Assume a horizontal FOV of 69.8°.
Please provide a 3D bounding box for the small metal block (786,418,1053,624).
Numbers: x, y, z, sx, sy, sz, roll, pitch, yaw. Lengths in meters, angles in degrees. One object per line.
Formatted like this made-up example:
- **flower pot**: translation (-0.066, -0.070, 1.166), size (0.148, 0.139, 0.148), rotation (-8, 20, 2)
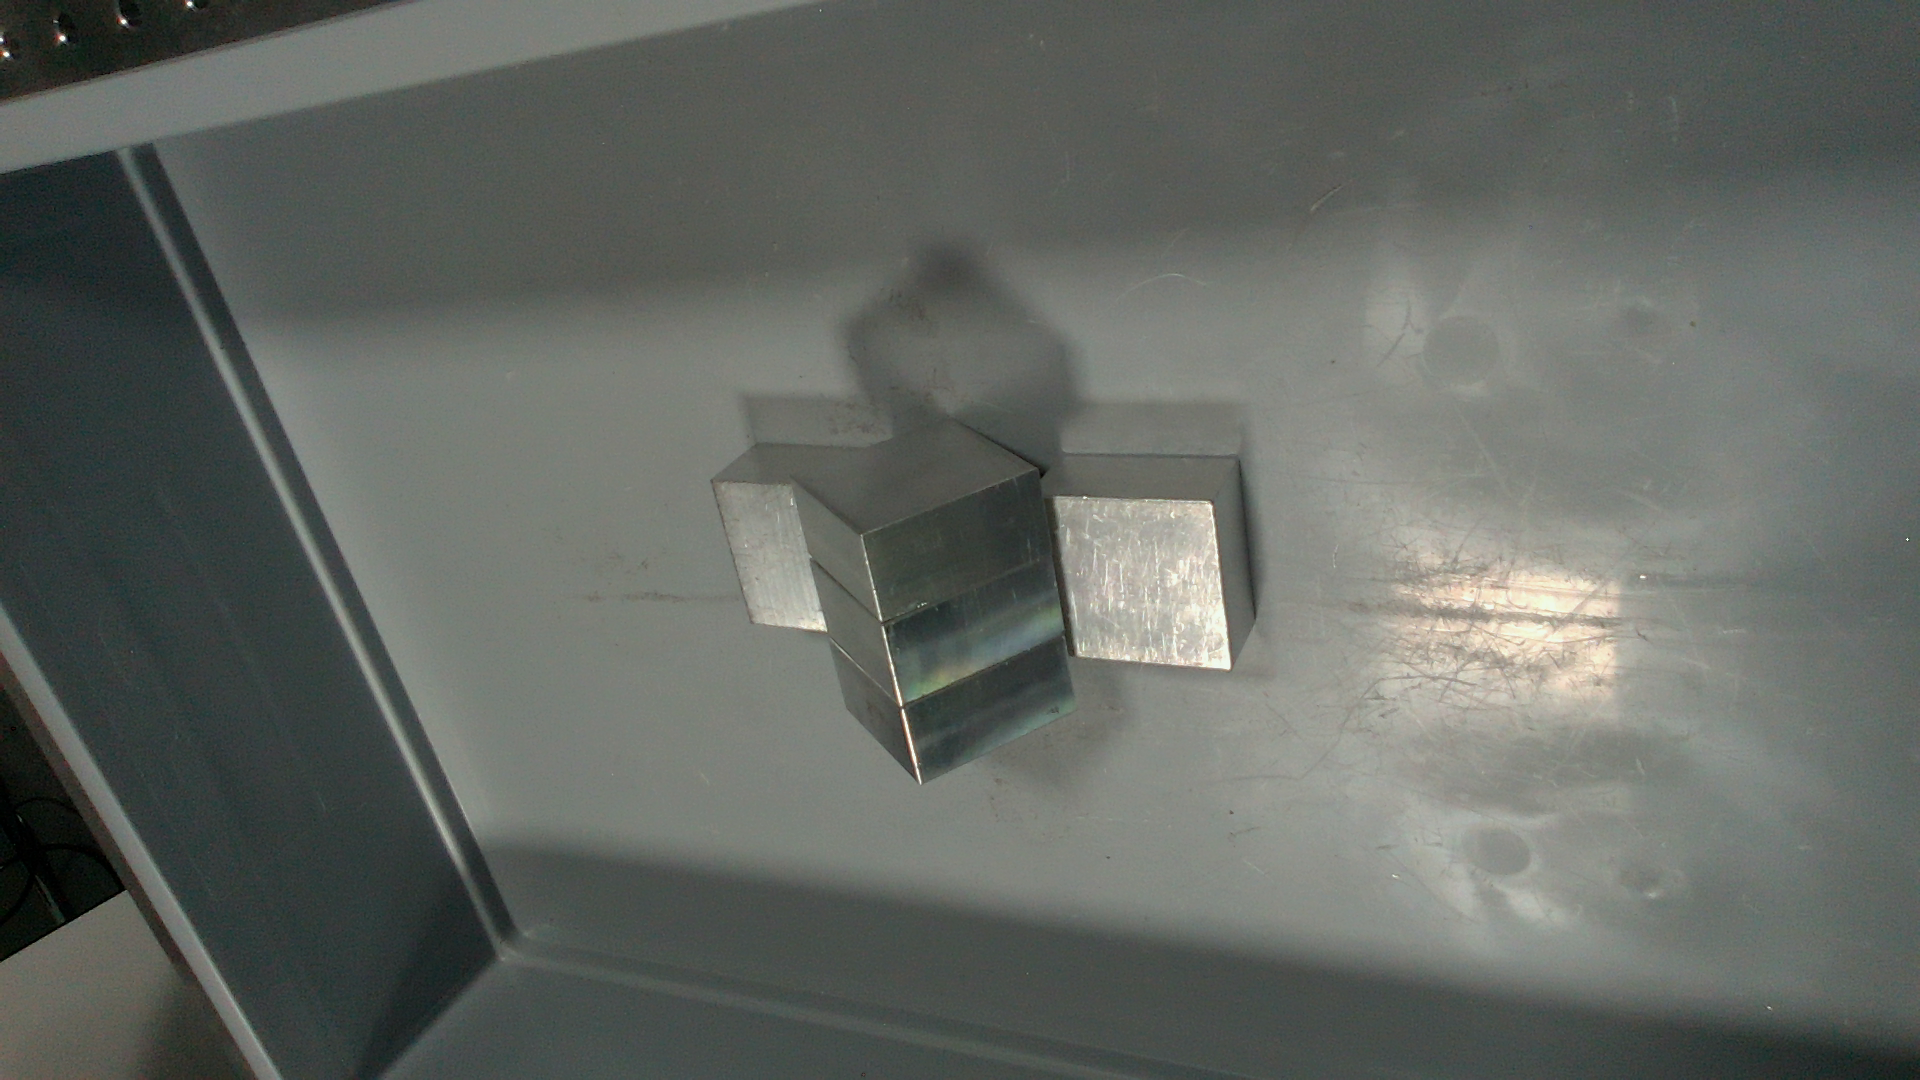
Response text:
- **small metal block**: translation (-0.011, -0.007, 0.363), size (0.050, 0.050, 0.025), rotation (34, 141, 55)

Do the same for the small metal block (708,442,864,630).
- **small metal block**: translation (-0.042, -0.001, 0.414), size (0.050, 0.025, 0.050), rotation (4, 120, 26)

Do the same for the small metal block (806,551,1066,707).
- **small metal block**: translation (-0.007, 0.015, 0.375), size (0.050, 0.050, 0.025), rotation (34, 140, 56)

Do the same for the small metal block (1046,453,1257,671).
- **small metal block**: translation (0.050, 0.005, 0.368), size (0.050, 0.025, 0.050), rotation (3, 120, 27)

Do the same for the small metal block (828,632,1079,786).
- **small metal block**: translation (-0.003, 0.037, 0.387), size (0.050, 0.050, 0.025), rotation (34, 140, 56)
